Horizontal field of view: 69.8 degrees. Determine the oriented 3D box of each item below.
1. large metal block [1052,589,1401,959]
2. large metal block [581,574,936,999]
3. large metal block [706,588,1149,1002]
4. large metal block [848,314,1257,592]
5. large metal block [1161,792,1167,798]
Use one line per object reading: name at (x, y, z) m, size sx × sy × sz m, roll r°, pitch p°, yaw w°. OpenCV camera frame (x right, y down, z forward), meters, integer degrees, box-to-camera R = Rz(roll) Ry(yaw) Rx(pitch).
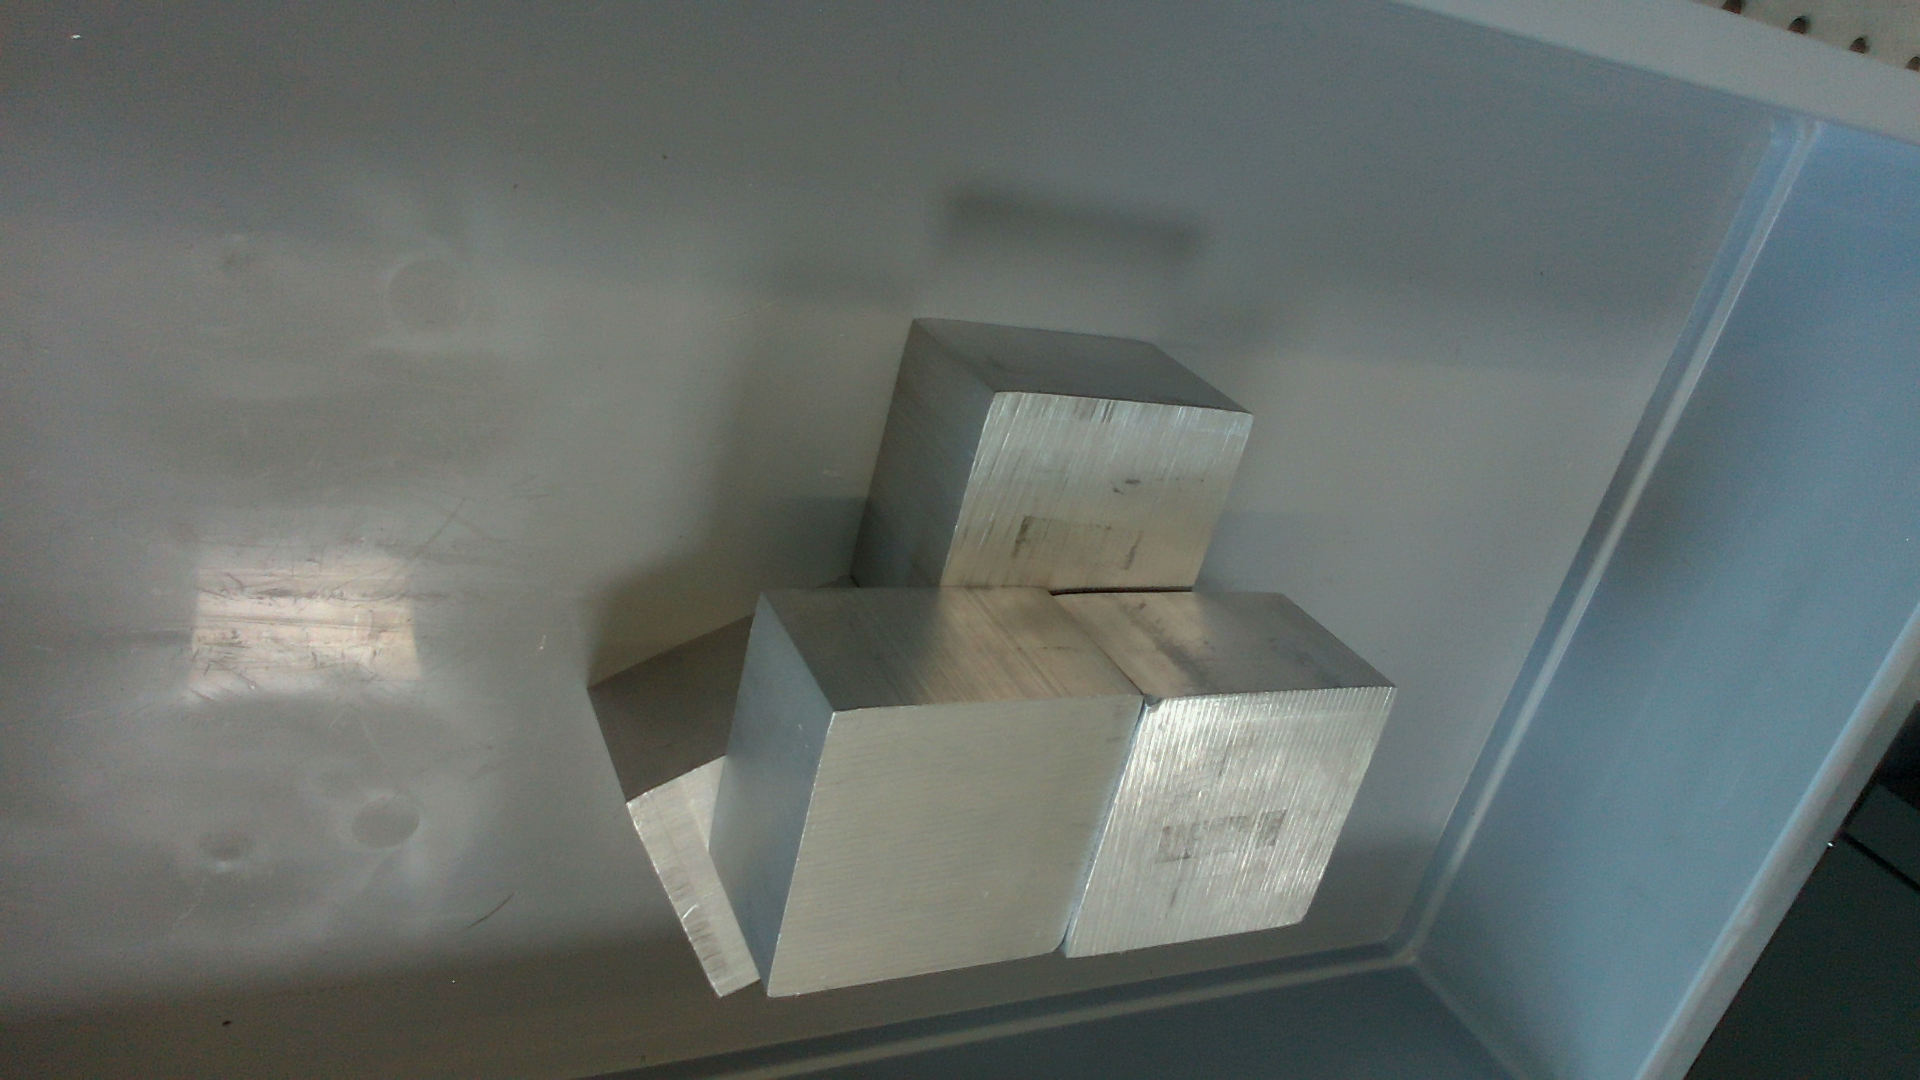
large metal block at (0.060, 0.061, 0.375) m, size 0.080 × 0.050 × 0.080 m, roll 1°, pitch 118°, yaw -29°
large metal block at (-0.049, 0.068, 0.387) m, size 0.080 × 0.050 × 0.080 m, roll -24°, pitch 127°, yaw -14°
large metal block at (-0.011, 0.059, 0.338) m, size 0.080 × 0.050 × 0.080 m, roll 1°, pitch 118°, yaw -29°
large metal block at (0.023, -0.011, 0.377) m, size 0.080 × 0.050 × 0.080 m, roll 1°, pitch 118°, yaw -29°
large metal block at (0.044, 0.073, 0.439) m, size 0.080 × 0.050 × 0.080 m, roll -47°, pitch 129°, yaw 5°
